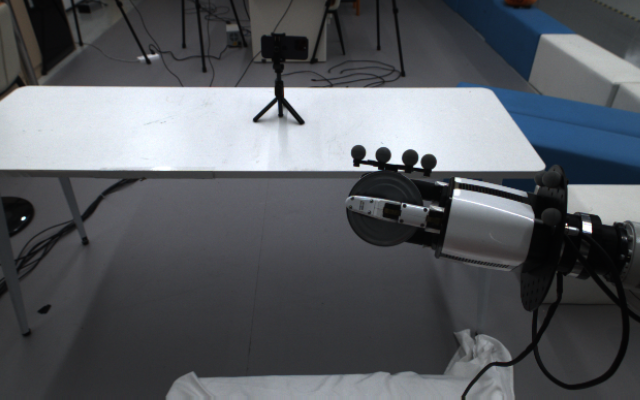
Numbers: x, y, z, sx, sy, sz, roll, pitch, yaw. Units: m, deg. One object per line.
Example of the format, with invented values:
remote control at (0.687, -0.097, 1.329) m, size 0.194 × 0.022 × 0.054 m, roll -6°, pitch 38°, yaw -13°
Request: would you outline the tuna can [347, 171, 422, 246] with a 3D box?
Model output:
tuna can at (0.077, 0.005, 0.552) m, size 0.085 × 0.085 × 0.034 m, roll 11°, pitch 3°, yaw 12°
